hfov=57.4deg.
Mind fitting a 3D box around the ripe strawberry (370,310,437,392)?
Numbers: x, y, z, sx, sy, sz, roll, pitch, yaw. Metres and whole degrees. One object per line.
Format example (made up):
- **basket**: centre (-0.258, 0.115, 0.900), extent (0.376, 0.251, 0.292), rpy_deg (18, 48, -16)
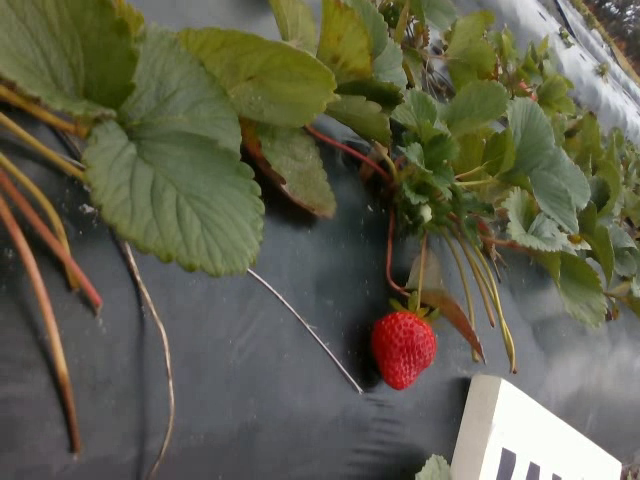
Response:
- **ripe strawberry**: centre (0.031, 0.041, 0.209), extent (0.022, 0.032, 0.028), rpy_deg (-8, -47, 45)
